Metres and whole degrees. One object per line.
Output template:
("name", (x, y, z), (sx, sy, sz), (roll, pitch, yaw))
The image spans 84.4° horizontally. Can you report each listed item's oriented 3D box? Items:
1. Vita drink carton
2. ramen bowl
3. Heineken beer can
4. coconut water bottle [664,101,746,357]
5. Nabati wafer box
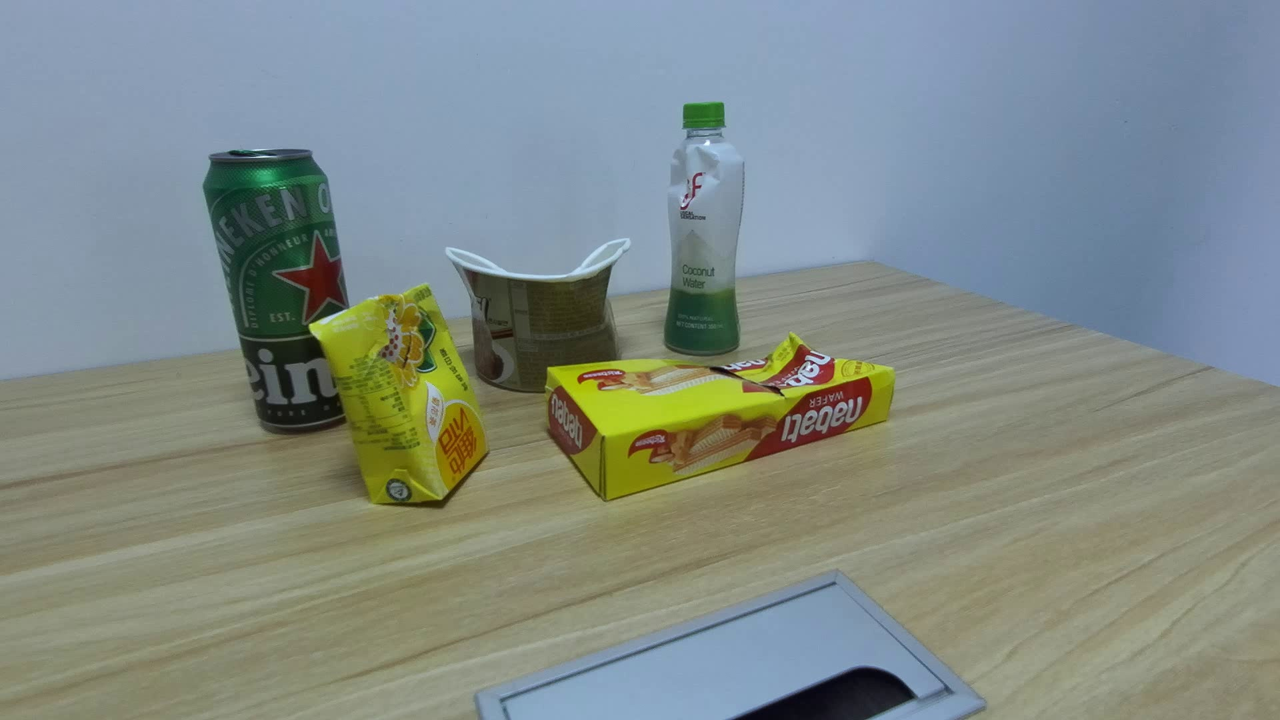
("Vita drink carton", (-0.127, 0.016, 0.378), (0.042, 0.108, 0.087), (-9, 15, 15))
("ramen bowl", (-0.074, -0.037, 0.523), (0.137, 0.098, 0.137), (-3, 22, 1))
("Heineken beer can", (-0.216, -0.041, 0.437), (0.067, 0.169, 0.067), (-1, 21, 1))
("coconut water bottle", (0.049, -0.100, 0.551), (0.069, 0.186, 0.069), (-1, 19, 1))
("Nabati wafer box", (0.051, 0.023, 0.445), (0.205, 0.042, 0.106), (-10, 25, -24))
